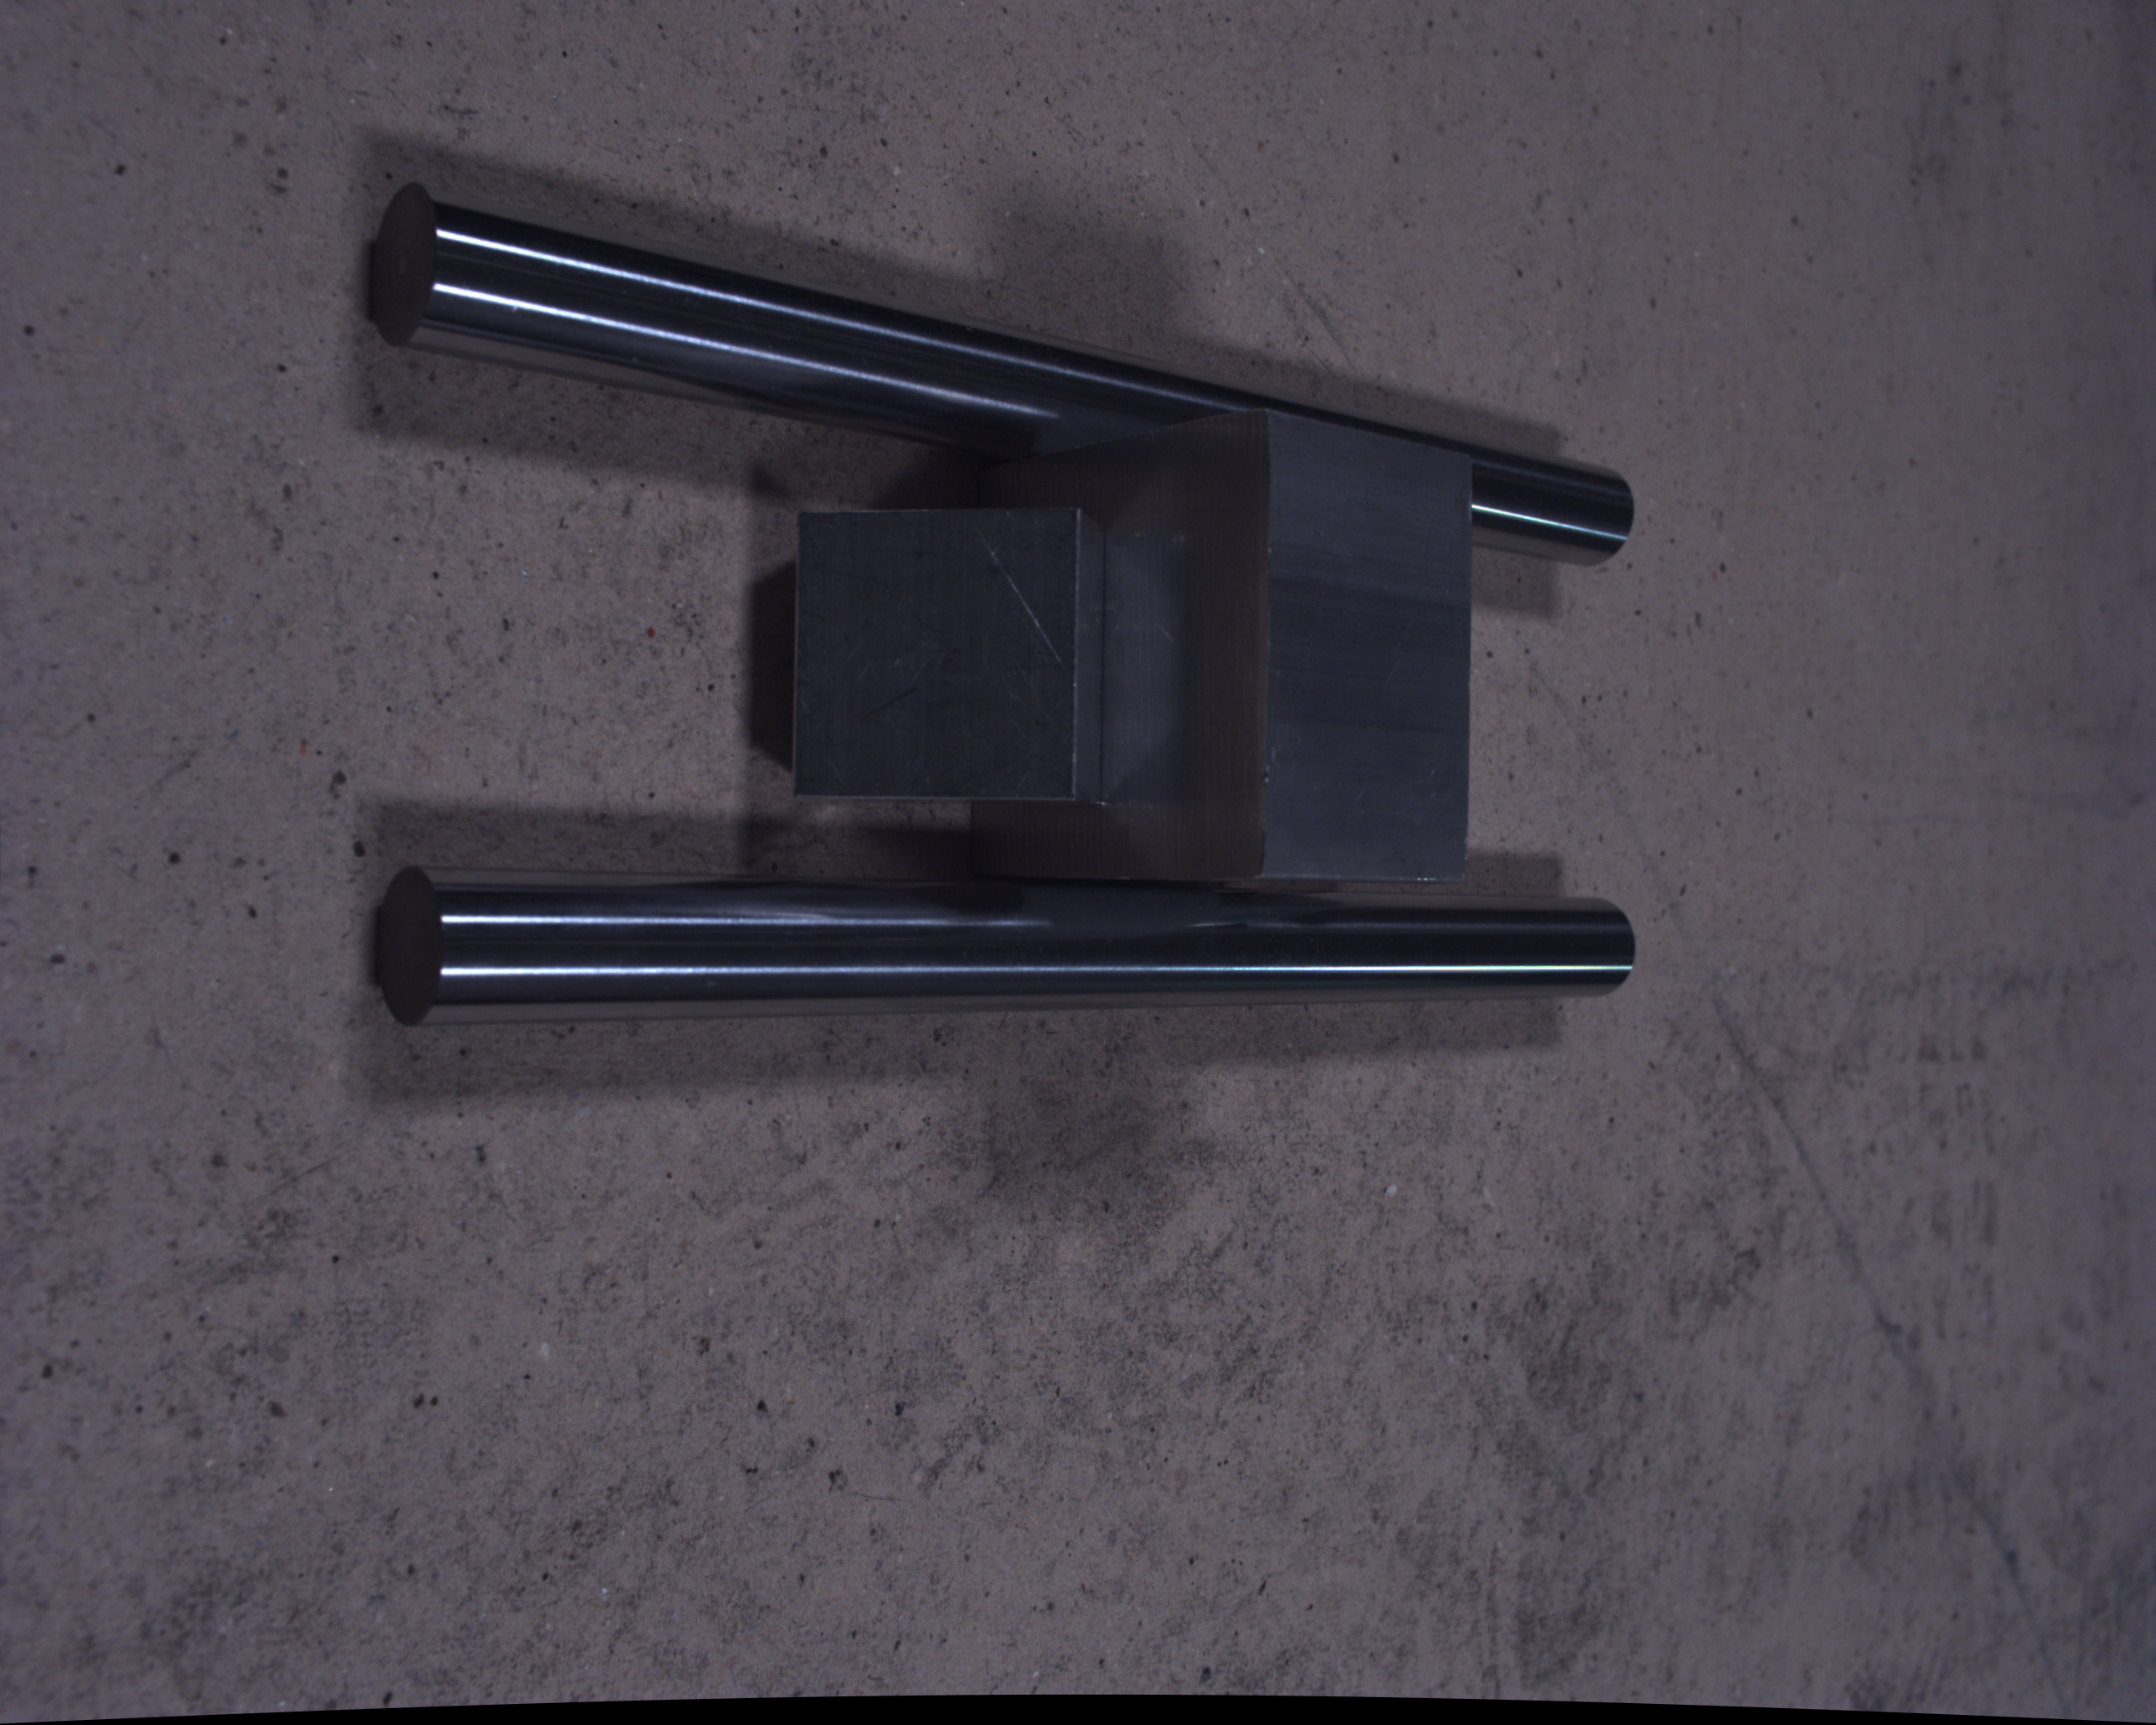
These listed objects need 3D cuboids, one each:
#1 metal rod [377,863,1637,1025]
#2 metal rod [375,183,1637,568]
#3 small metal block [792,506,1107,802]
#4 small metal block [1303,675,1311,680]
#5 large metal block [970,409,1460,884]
[{"bbox_3d":[0.012,0.017,0.419,0.302,0.025,0.025,2,89,-40],"label":"metal rod"},{"bbox_3d":[0.012,-0.089,0.418,0.302,0.025,0.025,2,89,-40],"label":"metal rod"},{"bbox_3d":[-0.022,-0.036,0.371,0.025,0.050,0.050,3,89,-80],"label":"small metal block"},{"bbox_3d":[0.057,-0.033,0.438,0.025,0.050,0.050,0,89,2],"label":"small metal block"},{"bbox_3d":[0.024,-0.036,0.396,0.050,0.080,0.079,1,90,-40],"label":"large metal block"}]
